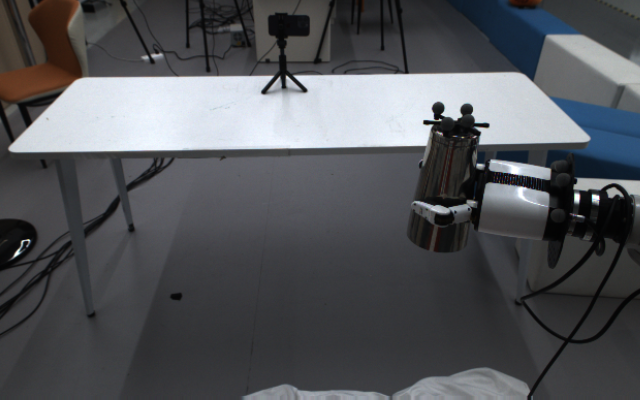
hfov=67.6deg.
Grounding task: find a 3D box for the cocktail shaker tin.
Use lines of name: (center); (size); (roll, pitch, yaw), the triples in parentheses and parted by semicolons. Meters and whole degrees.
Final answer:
cocktail shaker tin: (0.183, -0.022, 0.699); (0.093, 0.170, 0.093); (2, 28, -1)
